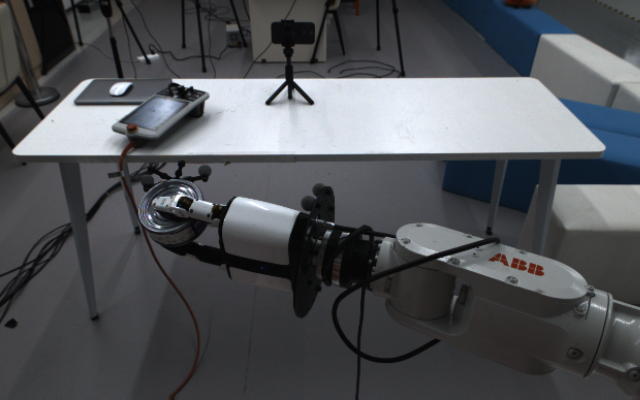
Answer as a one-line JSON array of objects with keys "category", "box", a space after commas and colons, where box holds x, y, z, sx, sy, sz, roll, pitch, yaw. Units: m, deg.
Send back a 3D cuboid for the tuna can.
[{"category": "tuna can", "box": [-0.184, 0.022, 0.624, 0.085, 0.034, 0.085, -3, 60, 5]}]
